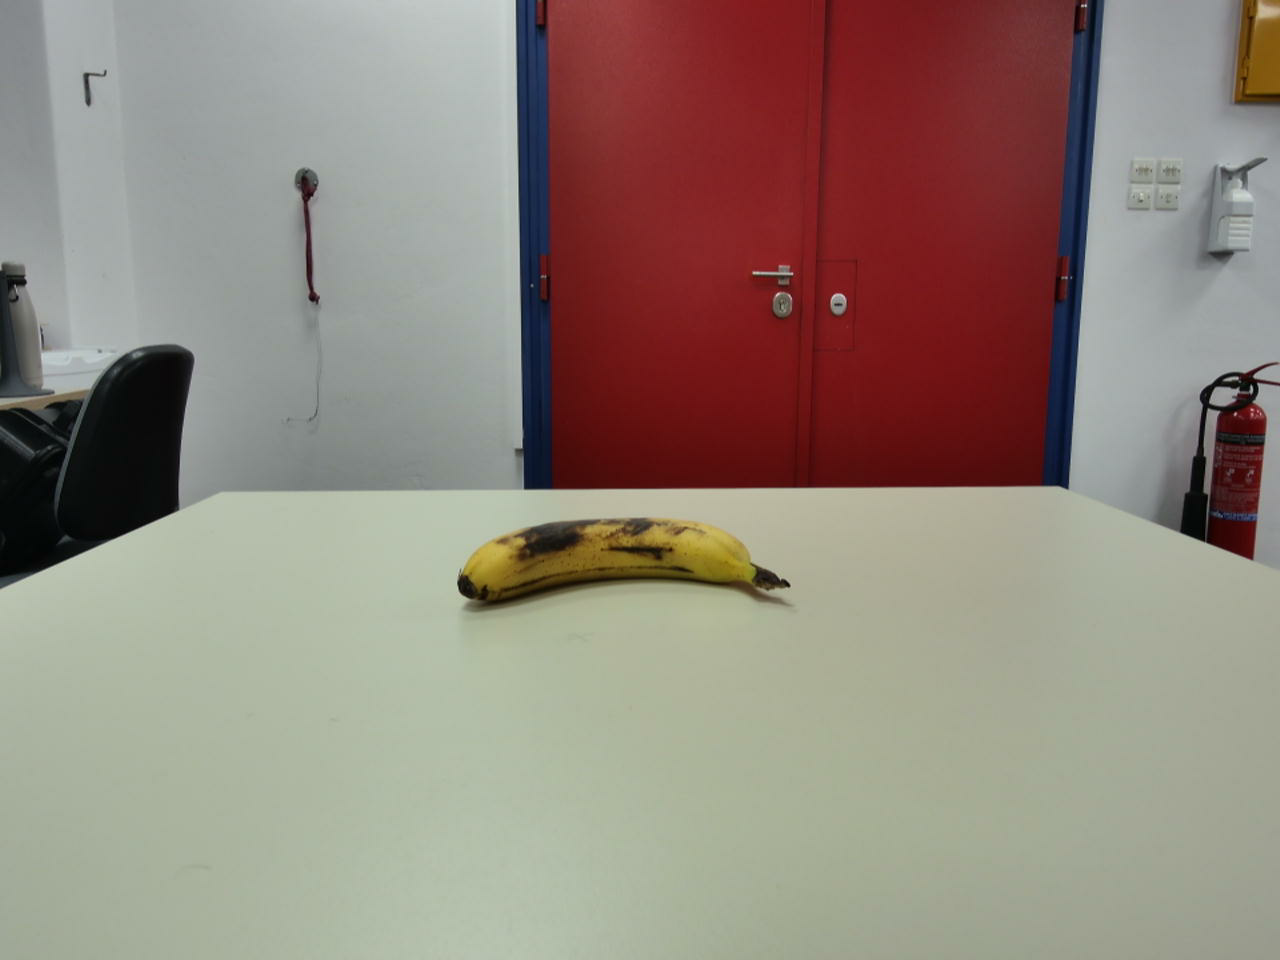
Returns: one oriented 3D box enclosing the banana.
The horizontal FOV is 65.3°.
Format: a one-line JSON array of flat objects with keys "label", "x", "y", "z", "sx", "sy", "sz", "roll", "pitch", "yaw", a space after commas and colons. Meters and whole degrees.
[{"label": "banana", "x": -0.012, "y": 0.048, "z": 0.603, "sx": 0.187, "sy": 0.039, "sz": 0.094, "roll": -1, "pitch": 7, "yaw": -3}]
